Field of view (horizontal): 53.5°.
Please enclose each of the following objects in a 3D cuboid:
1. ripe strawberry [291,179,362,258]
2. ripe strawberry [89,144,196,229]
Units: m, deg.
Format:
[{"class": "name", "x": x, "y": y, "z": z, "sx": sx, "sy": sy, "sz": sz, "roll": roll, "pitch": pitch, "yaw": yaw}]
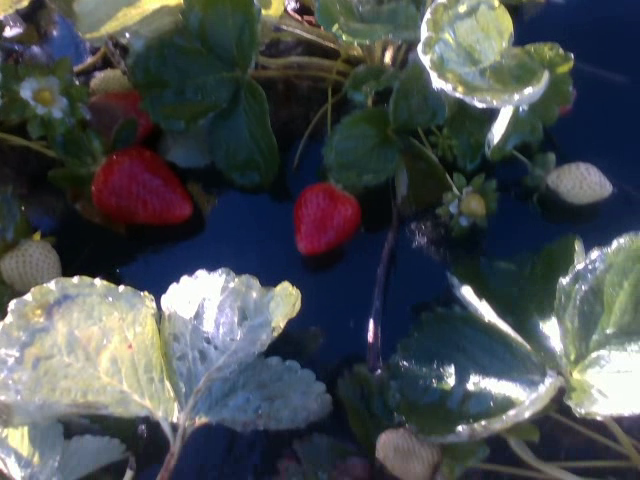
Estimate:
[{"class": "ripe strawberry", "x": 0.002, "y": -0.007, "z": 0.301, "sx": 0.039, "sy": 0.047, "sz": 0.040, "roll": 23, "pitch": -18, "yaw": 2}, {"class": "ripe strawberry", "x": -0.089, "y": -0.024, "z": 0.316, "sx": 0.056, "sy": 0.044, "sz": 0.040, "roll": 34, "pitch": -7, "yaw": 3}]
